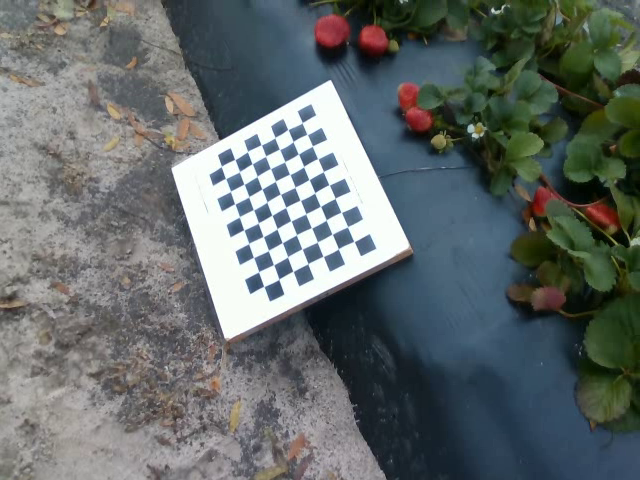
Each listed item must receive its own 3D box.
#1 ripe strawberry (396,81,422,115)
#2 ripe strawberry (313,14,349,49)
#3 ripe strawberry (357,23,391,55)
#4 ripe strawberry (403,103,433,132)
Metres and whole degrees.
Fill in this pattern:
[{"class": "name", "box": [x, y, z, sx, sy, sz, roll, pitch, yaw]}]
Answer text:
[{"class": "ripe strawberry", "box": [0.132, -0.207, 0.876, 0.053, 0.047, 0.038, 40, 6, -5]}, {"class": "ripe strawberry", "box": [0.015, -0.316, 0.929, 0.059, 0.065, 0.043, -1, -35, 26]}, {"class": "ripe strawberry", "box": [0.081, -0.307, 0.929, 0.051, 0.051, 0.059, -7, 21, 25]}, {"class": "ripe strawberry", "box": [0.140, -0.174, 0.848, 0.049, 0.043, 0.041, 2, -39, -45]}]
